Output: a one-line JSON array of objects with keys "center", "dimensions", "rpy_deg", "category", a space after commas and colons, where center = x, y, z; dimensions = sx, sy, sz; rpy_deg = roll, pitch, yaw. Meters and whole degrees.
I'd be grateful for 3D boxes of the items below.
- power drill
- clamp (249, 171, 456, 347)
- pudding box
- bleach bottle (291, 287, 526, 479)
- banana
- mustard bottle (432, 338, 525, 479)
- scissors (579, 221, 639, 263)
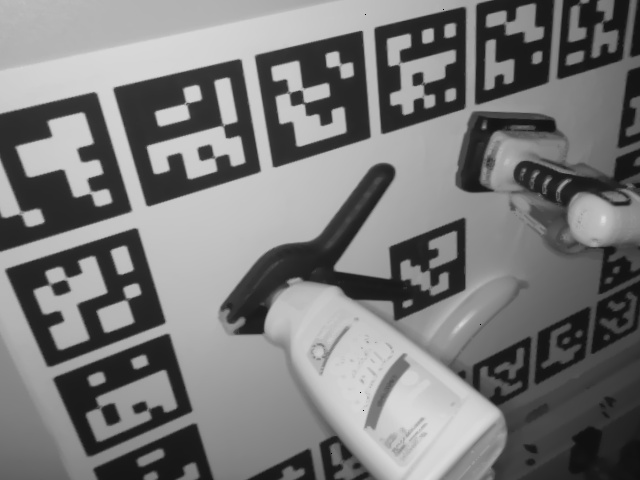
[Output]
[{"center": [0.286, -0.063, 0.639], "dimensions": [0.187, 0.186, 0.057], "rpy_deg": [-9, 125, -27], "category": "power drill"}, {"center": [0.028, 0.043, 0.659], "dimensions": [0.205, 0.036, 0.165], "rpy_deg": [-26, 121, -14], "category": "clamp"}, {"center": [0.319, -0.043, 0.761], "dimensions": [0.115, 0.089, 0.038], "rpy_deg": [-17, 127, -20], "category": "pudding box"}, {"center": [0.043, 0.110, 0.571], "dimensions": [0.103, 0.249, 0.068], "rpy_deg": [-40, 130, -14], "category": "bleach bottle"}, {"center": [0.214, 0.123, 0.808], "dimensions": [0.197, 0.038, 0.075], "rpy_deg": [-54, 142, 3], "category": "banana"}, {"center": [0.142, 0.174, 0.713], "dimensions": [0.097, 0.190, 0.058], "rpy_deg": [-7, 117, -24], "category": "mustard bottle"}, {"center": [0.355, -0.014, 0.716], "dimensions": [0.205, 0.016, 0.087], "rpy_deg": [5, 106, -25], "category": "scissors"}]
